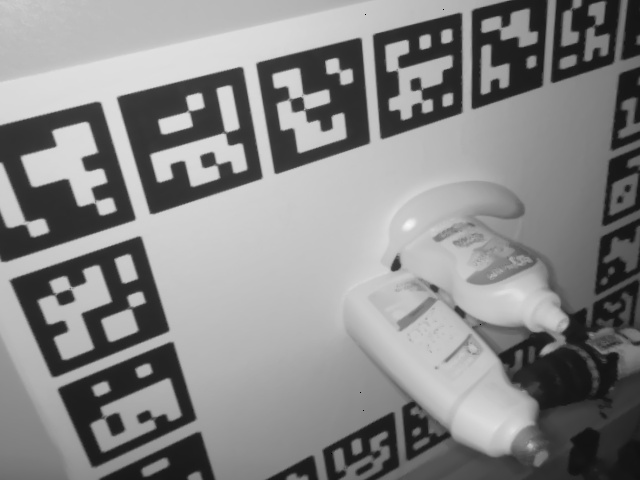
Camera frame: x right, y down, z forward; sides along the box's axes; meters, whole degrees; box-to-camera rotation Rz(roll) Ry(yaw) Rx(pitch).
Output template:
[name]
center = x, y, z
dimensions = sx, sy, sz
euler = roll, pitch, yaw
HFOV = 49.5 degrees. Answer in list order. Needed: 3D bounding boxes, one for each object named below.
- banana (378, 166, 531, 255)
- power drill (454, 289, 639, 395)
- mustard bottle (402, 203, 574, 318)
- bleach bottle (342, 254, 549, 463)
[banana]
center = 0.142, -0.040, 0.719
dimensions = 0.200, 0.038, 0.074
euler = -14, 115, -26
[power drill]
center = 0.217, 0.082, 0.682
dimensions = 0.187, 0.186, 0.057
euler = -5, 114, -25
[mustard bottle]
center = 0.164, 0.023, 0.653
dimensions = 0.097, 0.190, 0.058
euler = -17, 118, -20
[bleach bottle]
center = 0.118, 0.103, 0.632
dimensions = 0.104, 0.249, 0.067
euler = -15, 123, -22
